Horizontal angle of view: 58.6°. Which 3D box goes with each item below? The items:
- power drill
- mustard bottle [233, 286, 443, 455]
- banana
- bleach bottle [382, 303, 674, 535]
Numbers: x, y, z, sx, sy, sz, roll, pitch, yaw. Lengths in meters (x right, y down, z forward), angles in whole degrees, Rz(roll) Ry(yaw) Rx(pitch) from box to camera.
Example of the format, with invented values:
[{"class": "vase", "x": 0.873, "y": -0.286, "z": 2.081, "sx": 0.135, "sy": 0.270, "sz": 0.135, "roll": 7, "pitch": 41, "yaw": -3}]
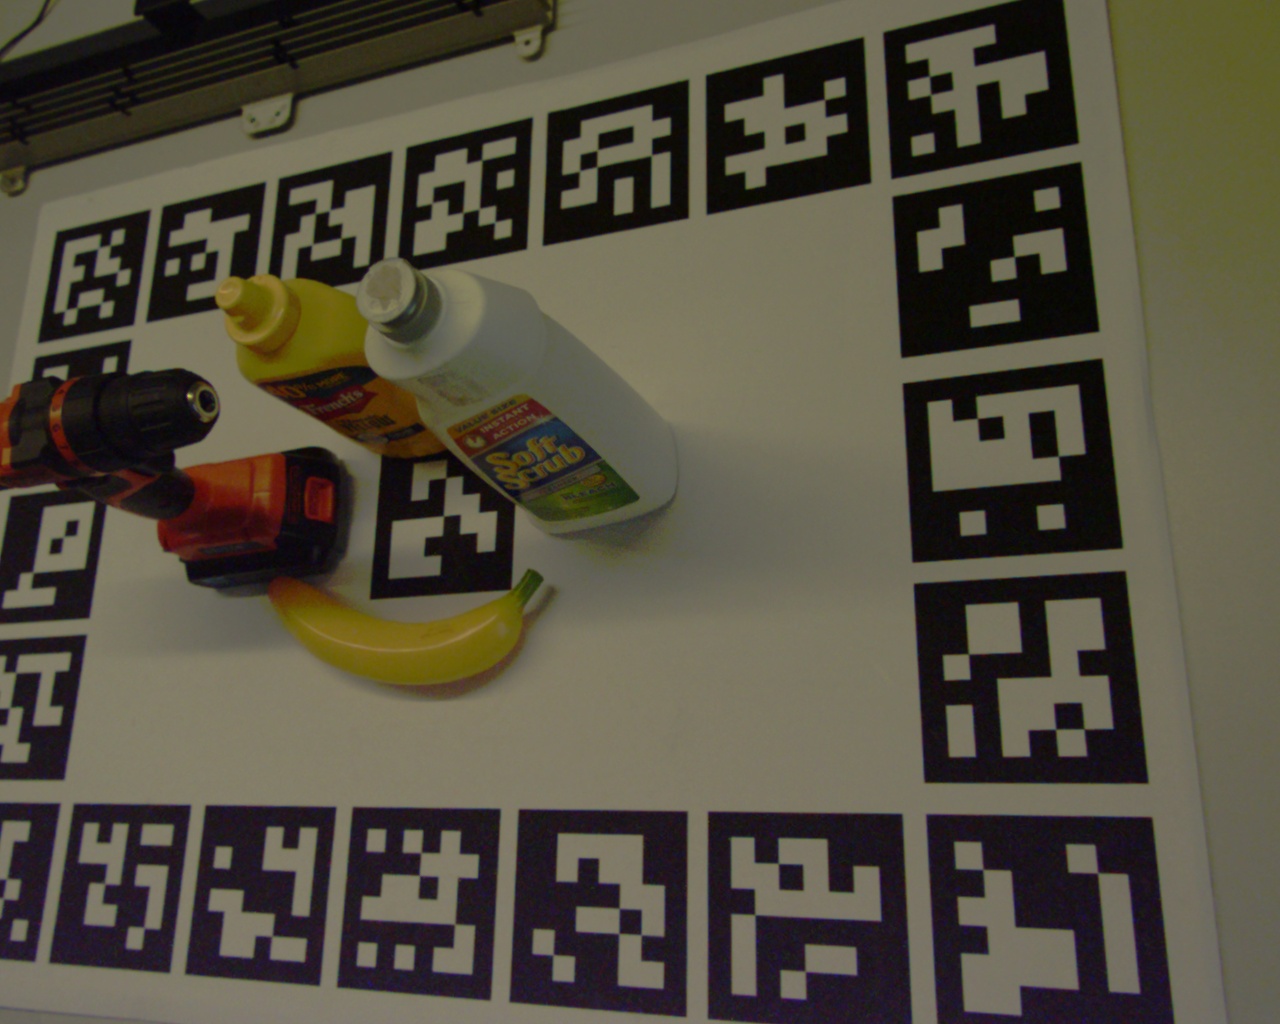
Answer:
[{"class": "power drill", "x": -0.282, "y": -0.025, "z": 0.702, "sx": 0.186, "sy": 0.185, "sz": 0.057, "roll": -8, "pitch": 66, "yaw": 17}, {"class": "mustard bottle", "x": -0.180, "y": -0.089, "z": 0.697, "sx": 0.097, "sy": 0.189, "sz": 0.058, "roll": -5, "pitch": 74, "yaw": 19}, {"class": "banana", "x": -0.149, "y": 0.067, "z": 0.724, "sx": 0.199, "sy": 0.038, "sz": 0.074, "roll": -3, "pitch": 79, "yaw": 24}, {"class": "bleach bottle", "x": -0.066, "y": -0.050, "z": 0.616, "sx": 0.103, "sy": 0.248, "sz": 0.068, "roll": -14, "pitch": 72, "yaw": 18}]
